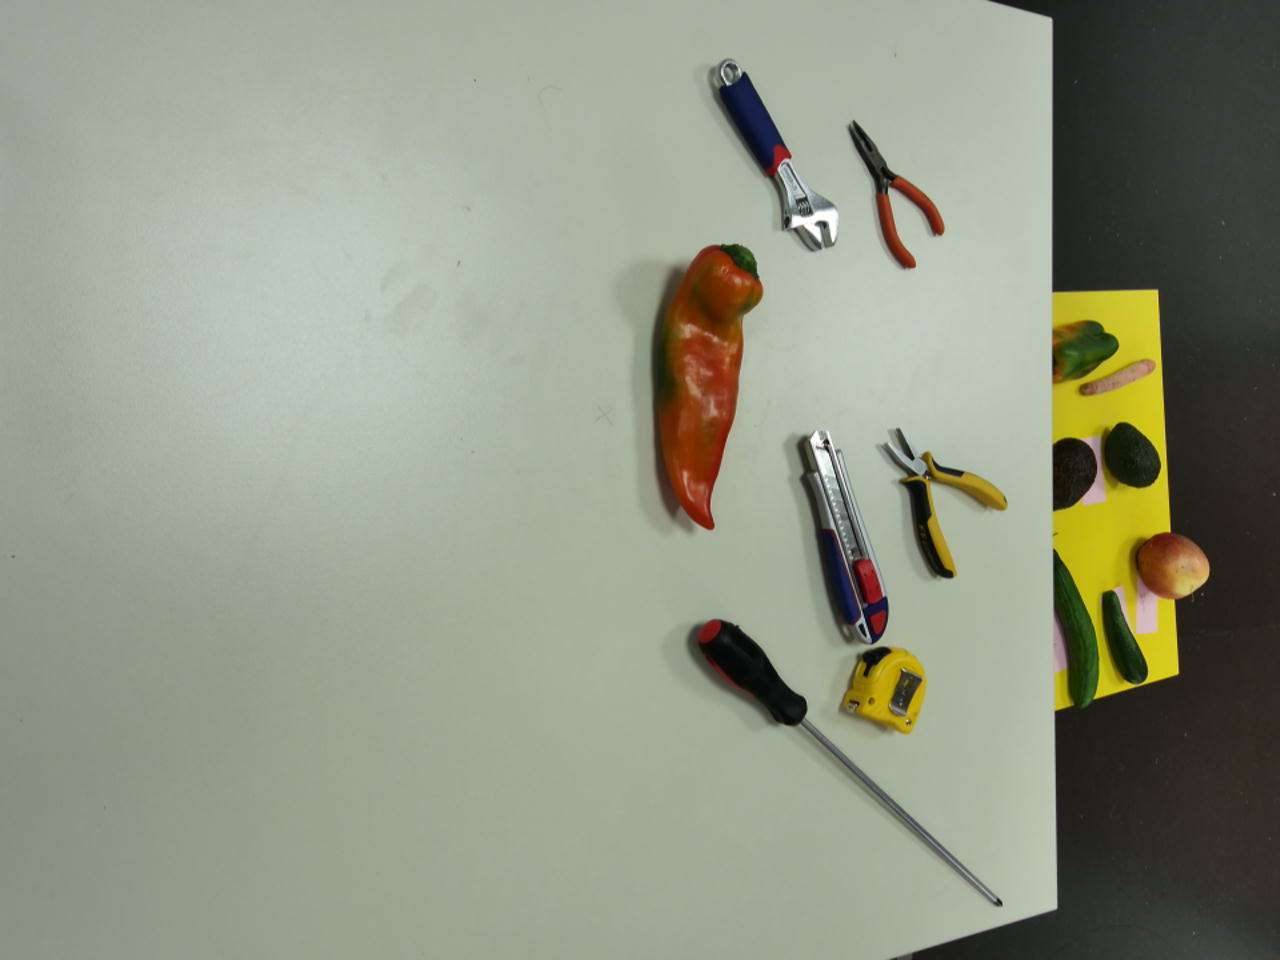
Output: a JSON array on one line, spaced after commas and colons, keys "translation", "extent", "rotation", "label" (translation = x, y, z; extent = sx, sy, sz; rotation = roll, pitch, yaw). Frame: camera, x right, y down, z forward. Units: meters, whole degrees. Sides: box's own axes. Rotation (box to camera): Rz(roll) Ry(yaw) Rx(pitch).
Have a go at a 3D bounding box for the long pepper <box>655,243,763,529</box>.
[{"translation": [0.050, -0.066, 0.698], "extent": [0.066, 0.065, 0.199], "rotation": [5, 88, -28], "label": "long pepper"}]
